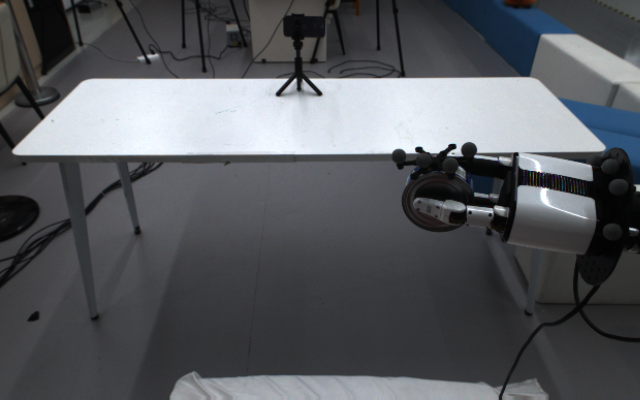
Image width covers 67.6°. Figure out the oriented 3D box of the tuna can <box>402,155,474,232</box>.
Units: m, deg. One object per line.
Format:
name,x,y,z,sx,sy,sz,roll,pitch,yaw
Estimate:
tuna can,0.146,-0.006,0.592,0.085,0.085,0.034,10,33,11
